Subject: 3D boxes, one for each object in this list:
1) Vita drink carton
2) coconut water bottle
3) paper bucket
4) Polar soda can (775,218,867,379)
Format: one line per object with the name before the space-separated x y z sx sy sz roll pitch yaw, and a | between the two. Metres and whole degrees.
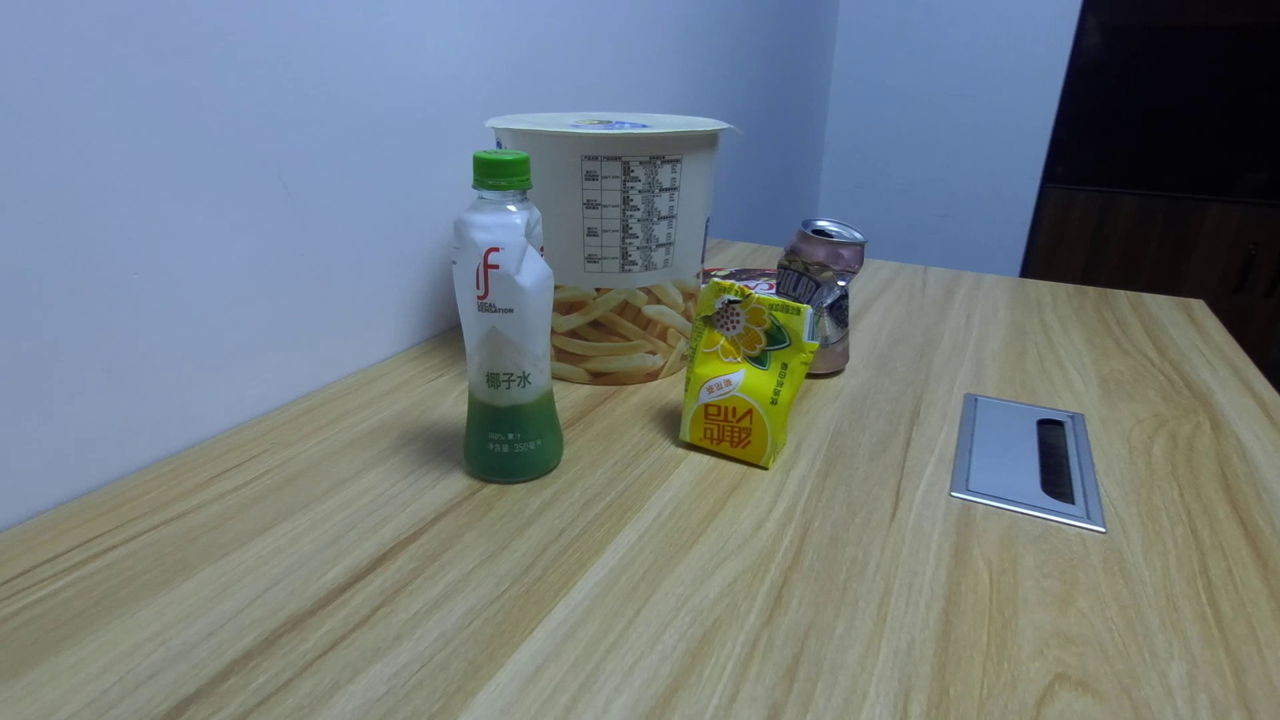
Vita drink carton | 0.069 0.006 0.459 0.086 0.108 0.042 16 13 22
coconut water bottle | -0.076 -0.023 0.414 0.069 0.186 0.069 2 24 0
paper bucket | -0.026 -0.095 0.582 0.198 0.194 0.198 1 23 0
Polar soda can | 0.151 -0.048 0.580 0.067 0.121 0.070 0 21 -20
